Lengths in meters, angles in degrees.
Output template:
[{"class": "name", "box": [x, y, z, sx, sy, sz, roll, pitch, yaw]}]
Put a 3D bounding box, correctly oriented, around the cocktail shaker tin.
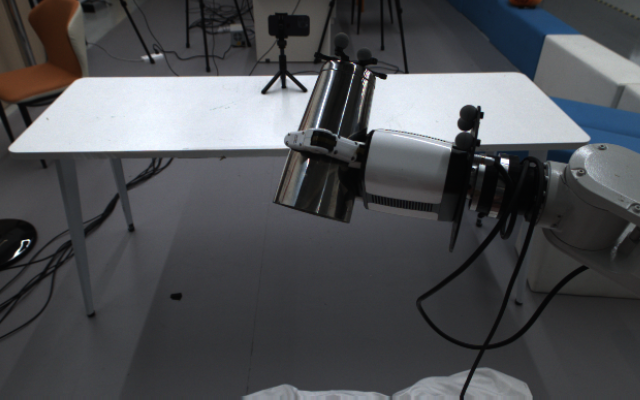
[{"class": "cocktail shaker tin", "box": [0.013, -0.066, 0.559, 0.093, 0.170, 0.093, 15, -4, 1]}]
